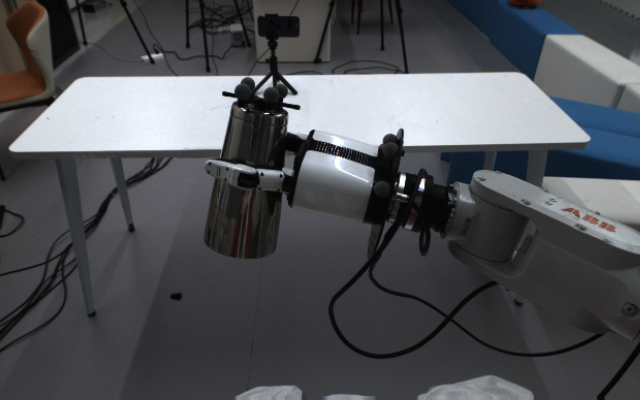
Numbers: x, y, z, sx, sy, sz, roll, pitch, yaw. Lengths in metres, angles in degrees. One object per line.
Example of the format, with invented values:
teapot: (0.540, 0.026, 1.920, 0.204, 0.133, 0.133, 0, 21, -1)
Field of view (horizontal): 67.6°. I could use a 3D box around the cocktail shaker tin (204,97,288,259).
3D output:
cocktail shaker tin: (-0.083, -0.026, 0.581, 0.093, 0.170, 0.093, 10, 19, -4)
